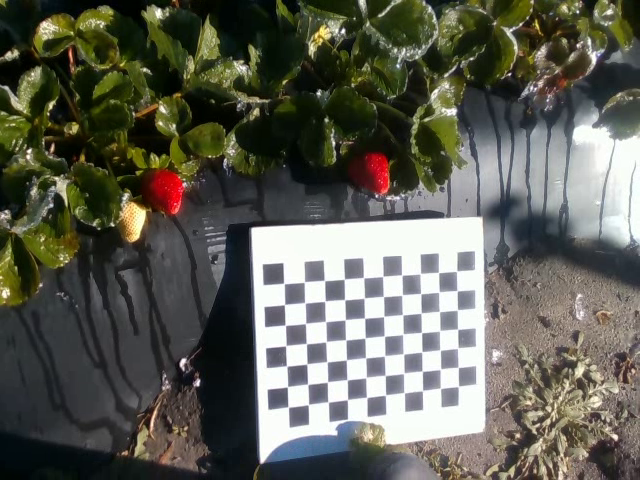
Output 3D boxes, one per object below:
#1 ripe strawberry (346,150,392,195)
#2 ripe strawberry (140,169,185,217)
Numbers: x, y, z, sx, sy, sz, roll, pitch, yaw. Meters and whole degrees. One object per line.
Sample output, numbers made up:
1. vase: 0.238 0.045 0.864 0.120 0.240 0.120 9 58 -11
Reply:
1. ripe strawberry: 0.062 -0.074 0.665 0.048 0.061 0.044 -12 -26 -15
2. ripe strawberry: -0.158 -0.044 0.610 0.043 0.061 0.046 -19 -33 -14
